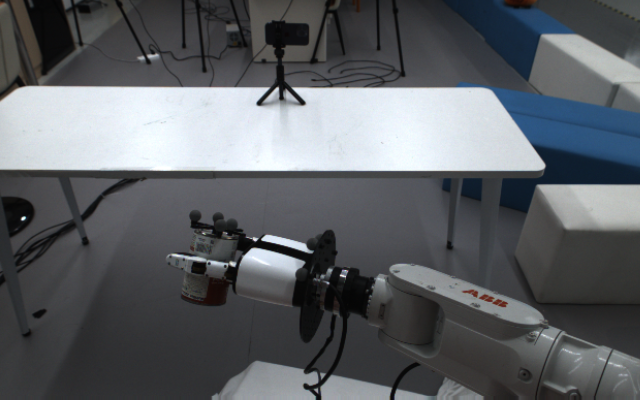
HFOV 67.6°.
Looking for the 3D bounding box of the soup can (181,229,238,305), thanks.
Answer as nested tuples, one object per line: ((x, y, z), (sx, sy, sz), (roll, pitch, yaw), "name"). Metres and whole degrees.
((-0.160, 0.098, 0.705), (0.067, 0.101, 0.067), (12, 2, 0), "soup can")
